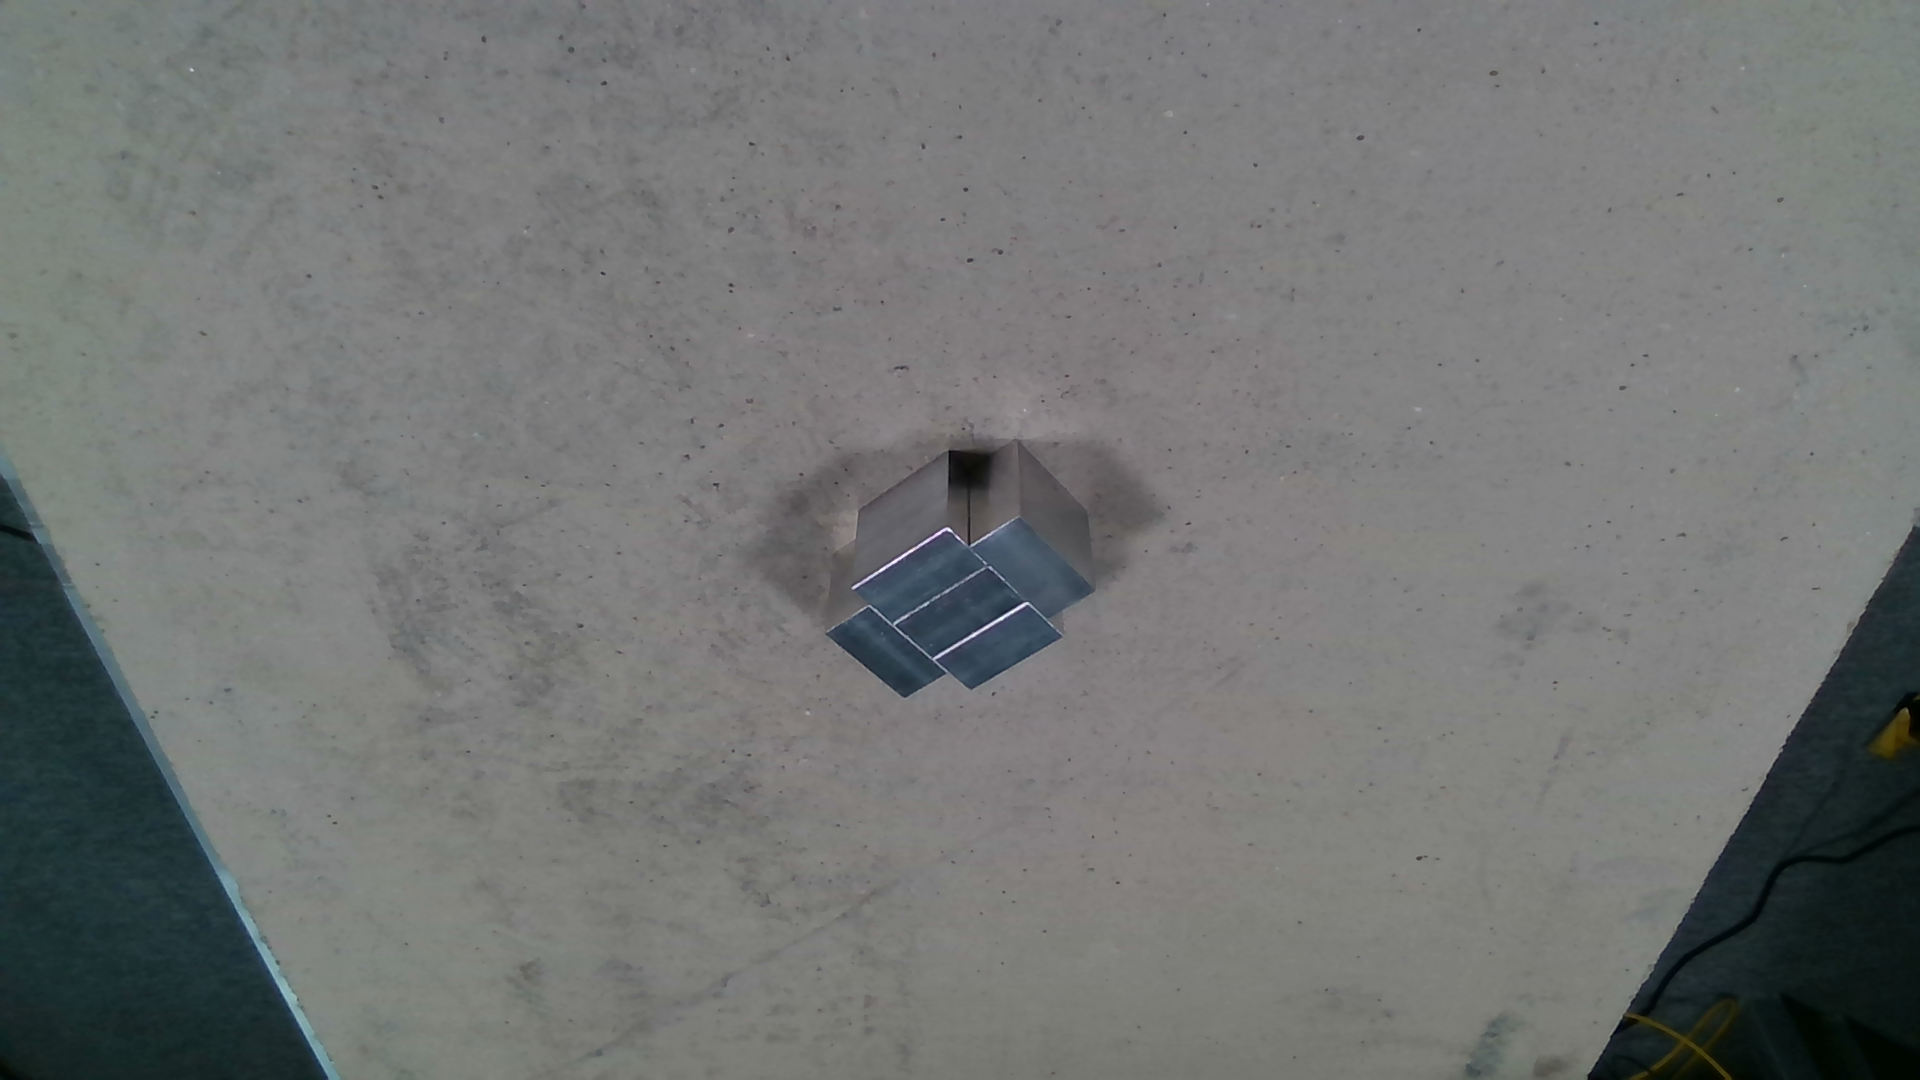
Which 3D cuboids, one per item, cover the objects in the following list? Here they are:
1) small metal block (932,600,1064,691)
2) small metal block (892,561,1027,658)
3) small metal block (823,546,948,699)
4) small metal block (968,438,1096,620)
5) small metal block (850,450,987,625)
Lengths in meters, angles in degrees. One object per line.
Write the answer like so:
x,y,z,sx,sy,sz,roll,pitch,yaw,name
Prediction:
0.015,0.028,0.586,0.050,0.050,0.025,-33,122,25,small metal block
-0.001,0.013,0.574,0.050,0.050,0.025,-33,123,24,small metal block
-0.031,0.031,0.588,0.025,0.050,0.050,-32,123,24,small metal block
0.029,-0.005,0.558,0.025,0.050,0.050,-32,123,24,small metal block
-0.017,-0.001,0.561,0.050,0.050,0.025,-33,123,24,small metal block
